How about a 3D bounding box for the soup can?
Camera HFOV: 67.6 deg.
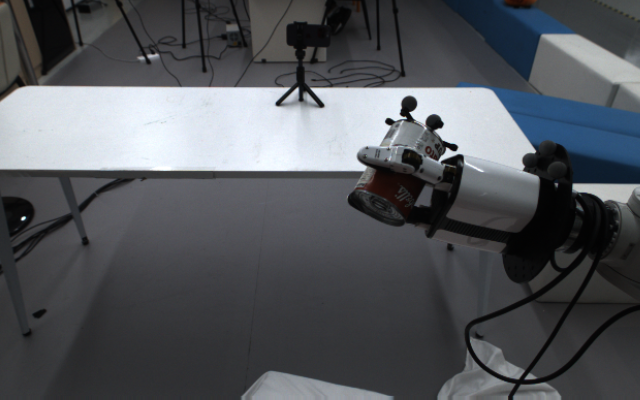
[{"bbox_3d":[0.089,-0.031,0.540,0.067,0.067,0.101,22,71,27],"label":"soup can"}]
